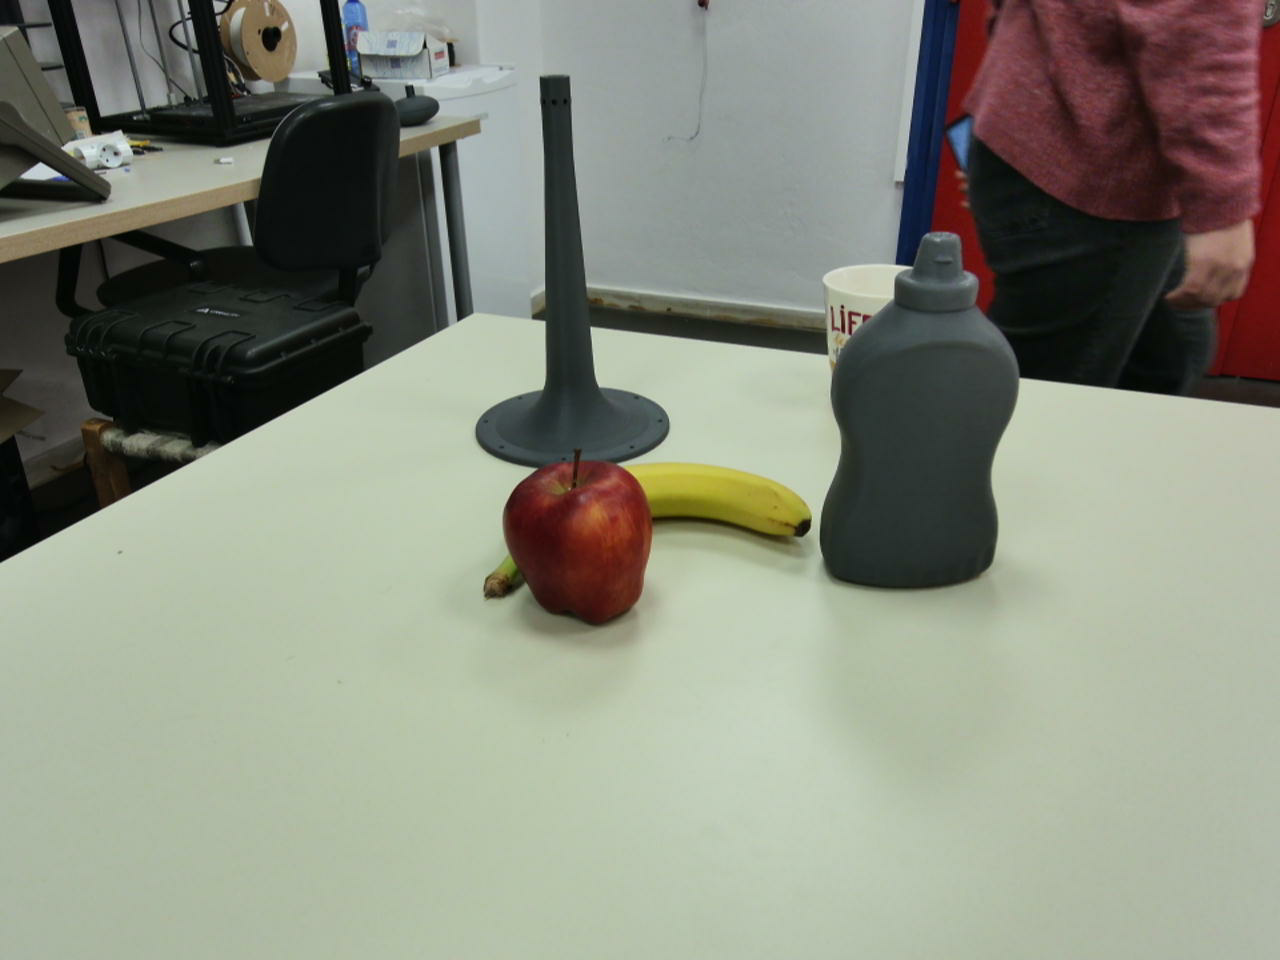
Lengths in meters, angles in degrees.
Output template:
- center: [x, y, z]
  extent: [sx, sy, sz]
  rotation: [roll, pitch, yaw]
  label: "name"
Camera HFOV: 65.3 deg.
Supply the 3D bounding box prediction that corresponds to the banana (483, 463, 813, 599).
- center: [-0.001, 0.021, 0.609]
  extent: [0.196, 0.041, 0.094]
  rotation: [-6, 26, -10]
  label: "banana"
